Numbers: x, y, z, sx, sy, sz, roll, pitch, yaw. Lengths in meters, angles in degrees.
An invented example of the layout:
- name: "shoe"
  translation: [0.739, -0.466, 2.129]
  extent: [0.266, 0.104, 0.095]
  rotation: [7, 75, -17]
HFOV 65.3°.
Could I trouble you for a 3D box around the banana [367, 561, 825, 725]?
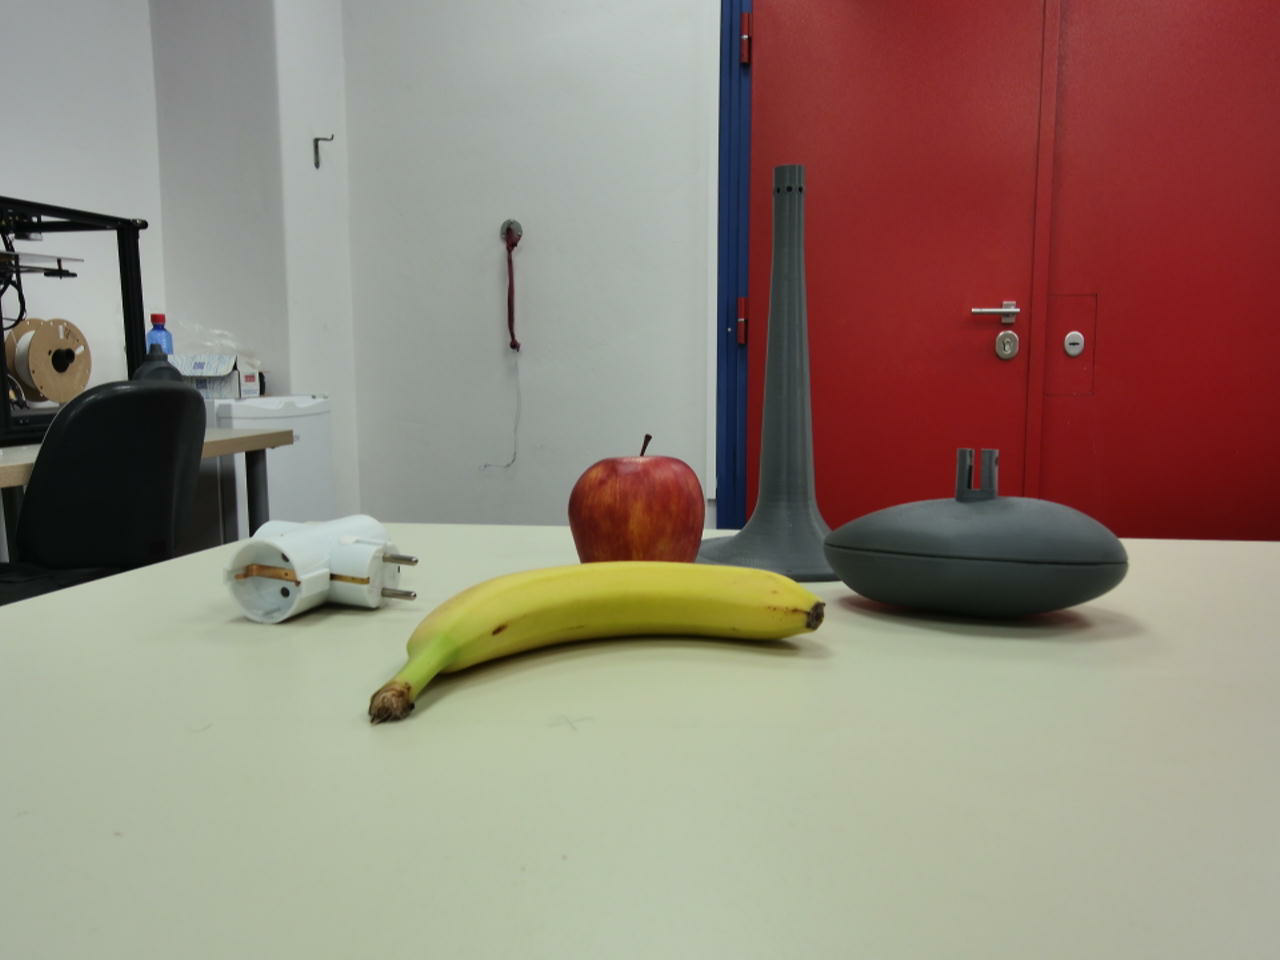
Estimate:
- name: "banana"
  translation: [-0.024, 0.061, 0.433]
  extent: [0.196, 0.041, 0.094]
  rotation: [-2, 4, -23]
